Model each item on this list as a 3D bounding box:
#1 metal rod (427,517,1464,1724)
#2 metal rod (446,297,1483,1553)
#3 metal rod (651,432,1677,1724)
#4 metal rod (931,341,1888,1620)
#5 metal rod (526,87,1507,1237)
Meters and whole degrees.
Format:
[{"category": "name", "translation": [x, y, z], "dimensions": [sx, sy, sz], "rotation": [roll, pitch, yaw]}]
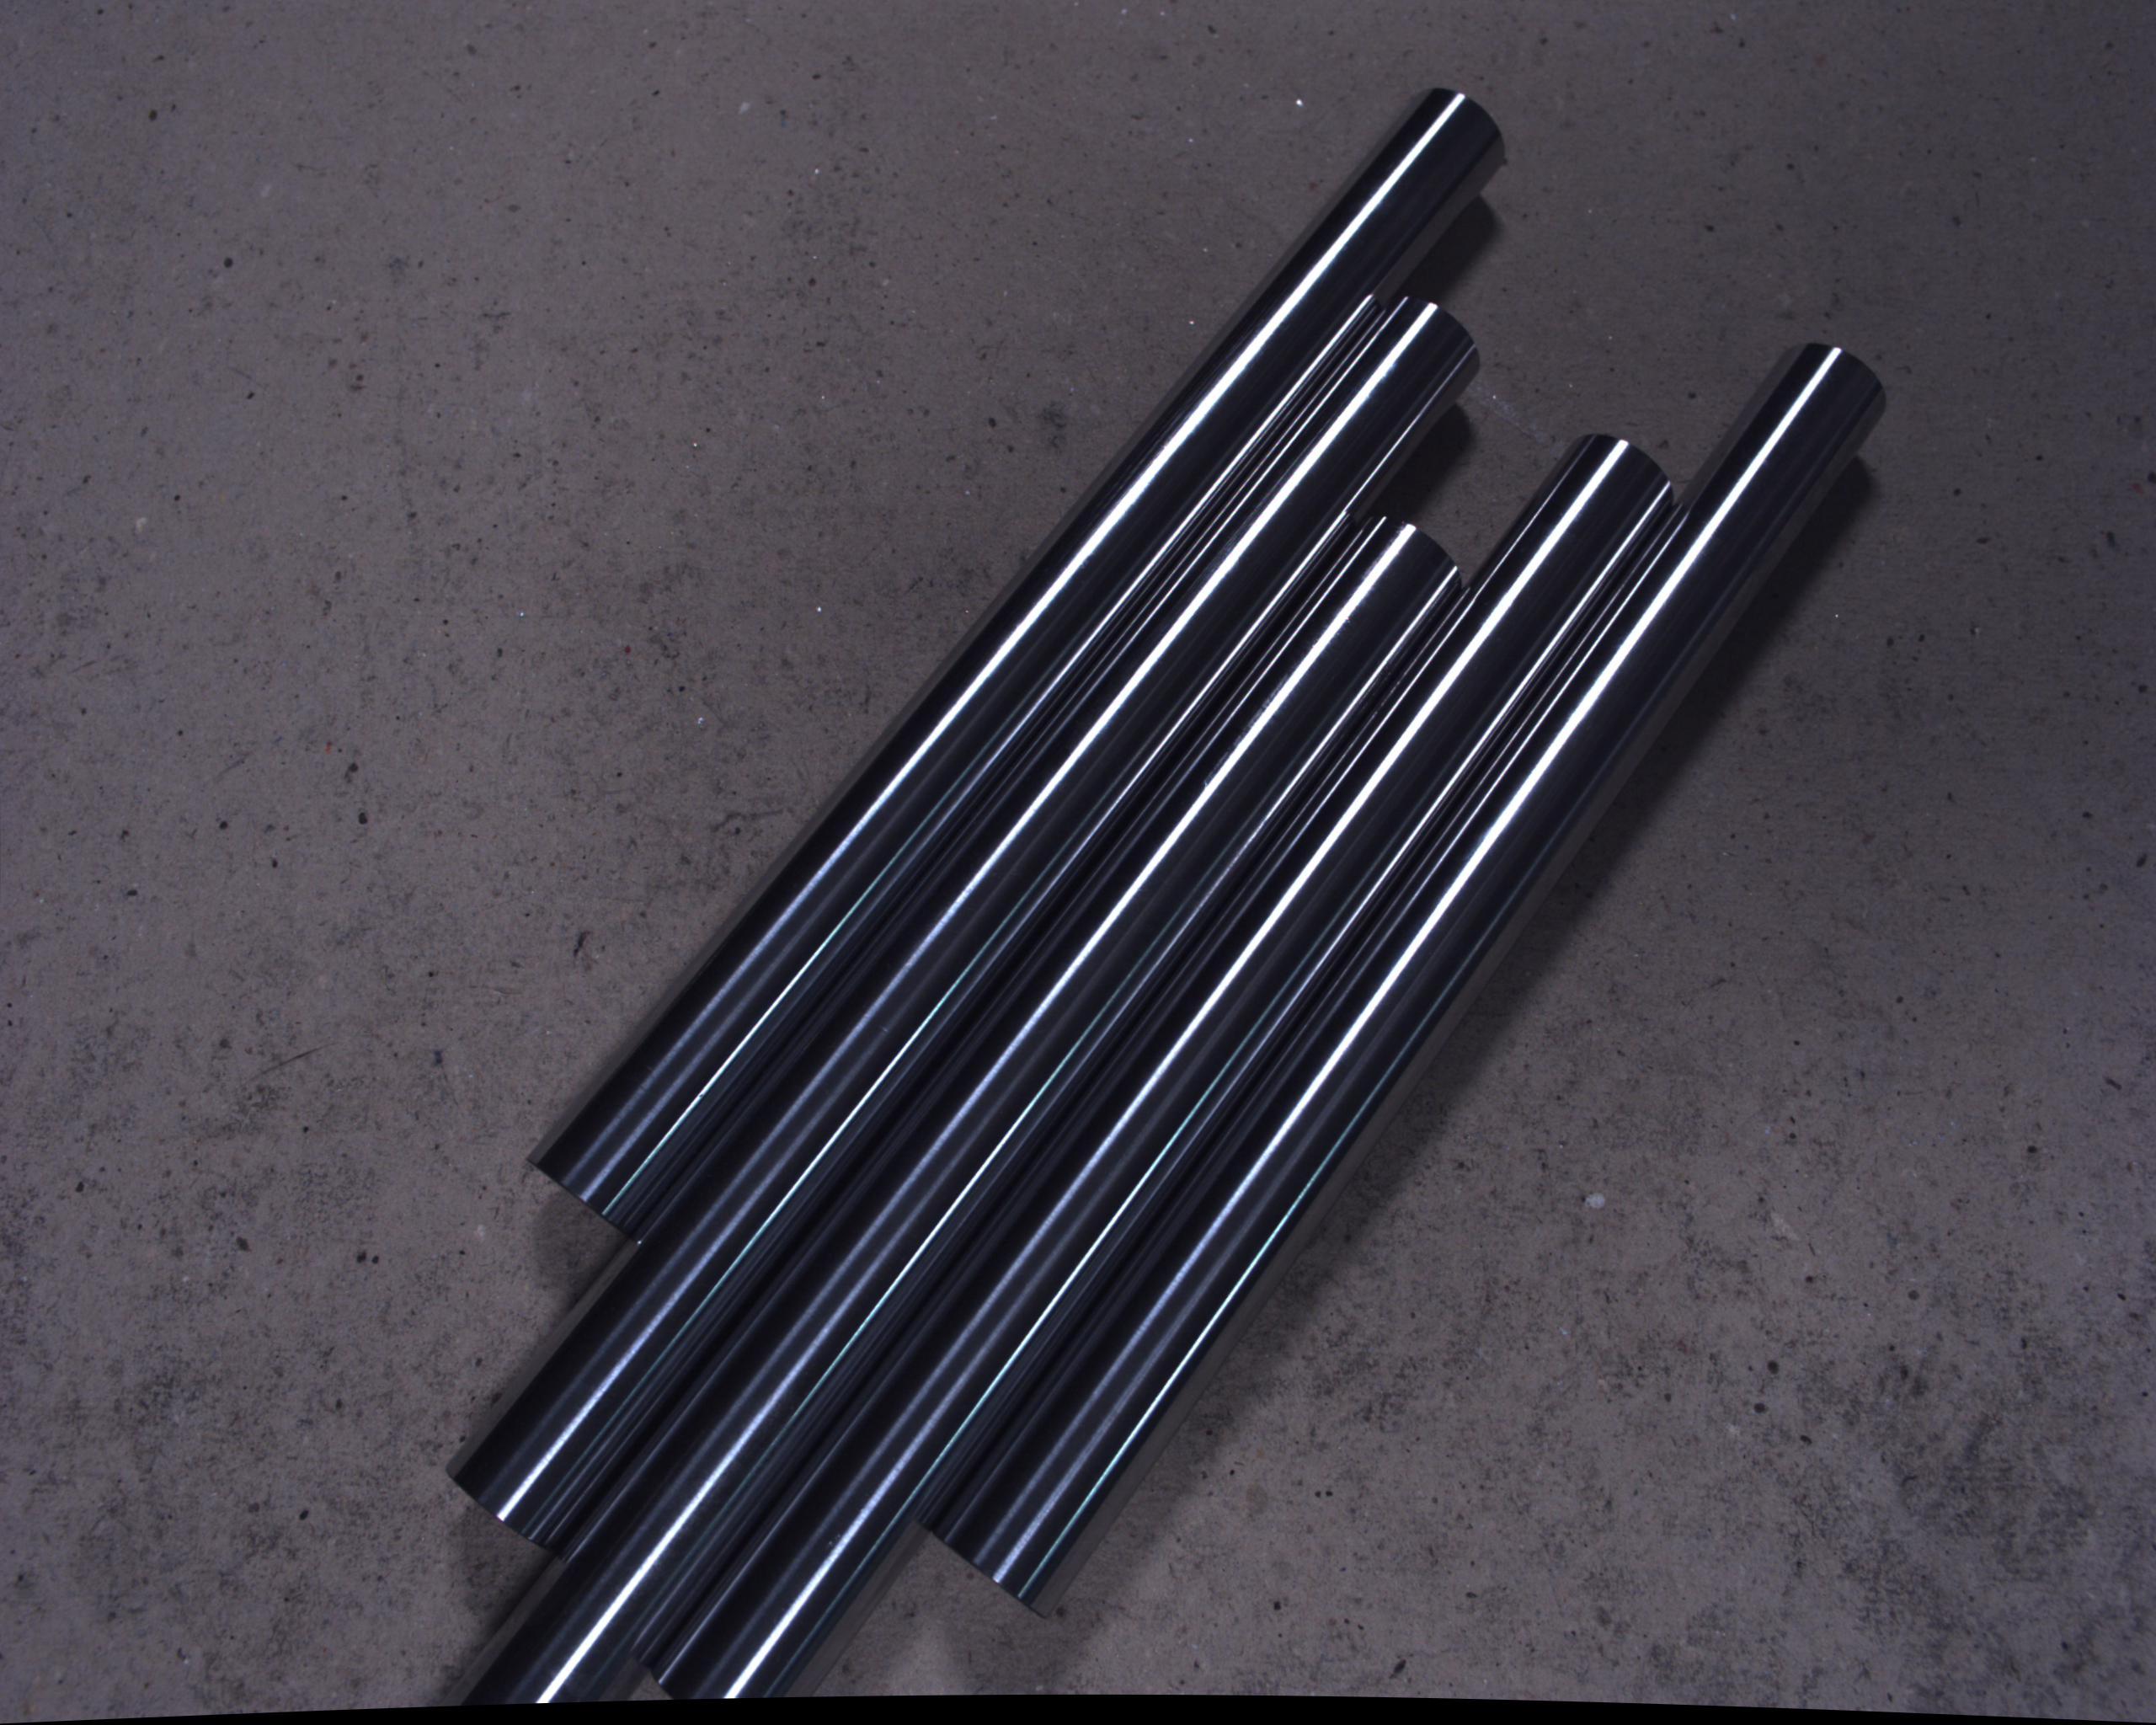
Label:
[{"category": "metal rod", "translation": [-0.019, 0.050, 0.391], "dimensions": [0.025, 0.025, 0.300], "rotation": [35, 73, 11]}, {"category": "metal rod", "translation": [-0.012, 0.001, 0.409], "dimensions": [0.025, 0.025, 0.300], "rotation": [35, 73, 11]}, {"category": "metal rod", "translation": [0.026, 0.032, 0.398], "dimensions": [0.025, 0.025, 0.300], "rotation": [35, 73, 11]}, {"category": "metal rod", "translation": [0.073, 0.011, 0.406], "dimensions": [0.025, 0.025, 0.300], "rotation": [35, 73, 11]}, {"category": "metal rod", "translation": [-0.003, -0.051, 0.428], "dimensions": [0.025, 0.025, 0.300], "rotation": [35, 73, 11]}]
